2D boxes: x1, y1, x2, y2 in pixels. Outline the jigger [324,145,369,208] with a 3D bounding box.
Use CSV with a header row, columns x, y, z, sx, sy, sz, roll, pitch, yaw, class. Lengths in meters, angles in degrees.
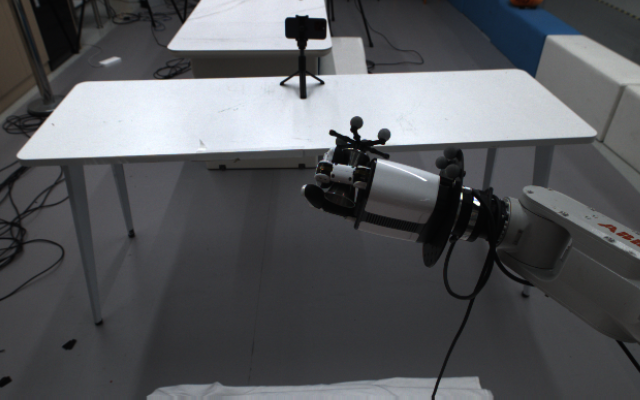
x,y,z,sx,sy,sz,roll,pitch,yaw,class
0.038,-0.032,0.639,0.043,0.043,0.071,15,70,18,jigger
